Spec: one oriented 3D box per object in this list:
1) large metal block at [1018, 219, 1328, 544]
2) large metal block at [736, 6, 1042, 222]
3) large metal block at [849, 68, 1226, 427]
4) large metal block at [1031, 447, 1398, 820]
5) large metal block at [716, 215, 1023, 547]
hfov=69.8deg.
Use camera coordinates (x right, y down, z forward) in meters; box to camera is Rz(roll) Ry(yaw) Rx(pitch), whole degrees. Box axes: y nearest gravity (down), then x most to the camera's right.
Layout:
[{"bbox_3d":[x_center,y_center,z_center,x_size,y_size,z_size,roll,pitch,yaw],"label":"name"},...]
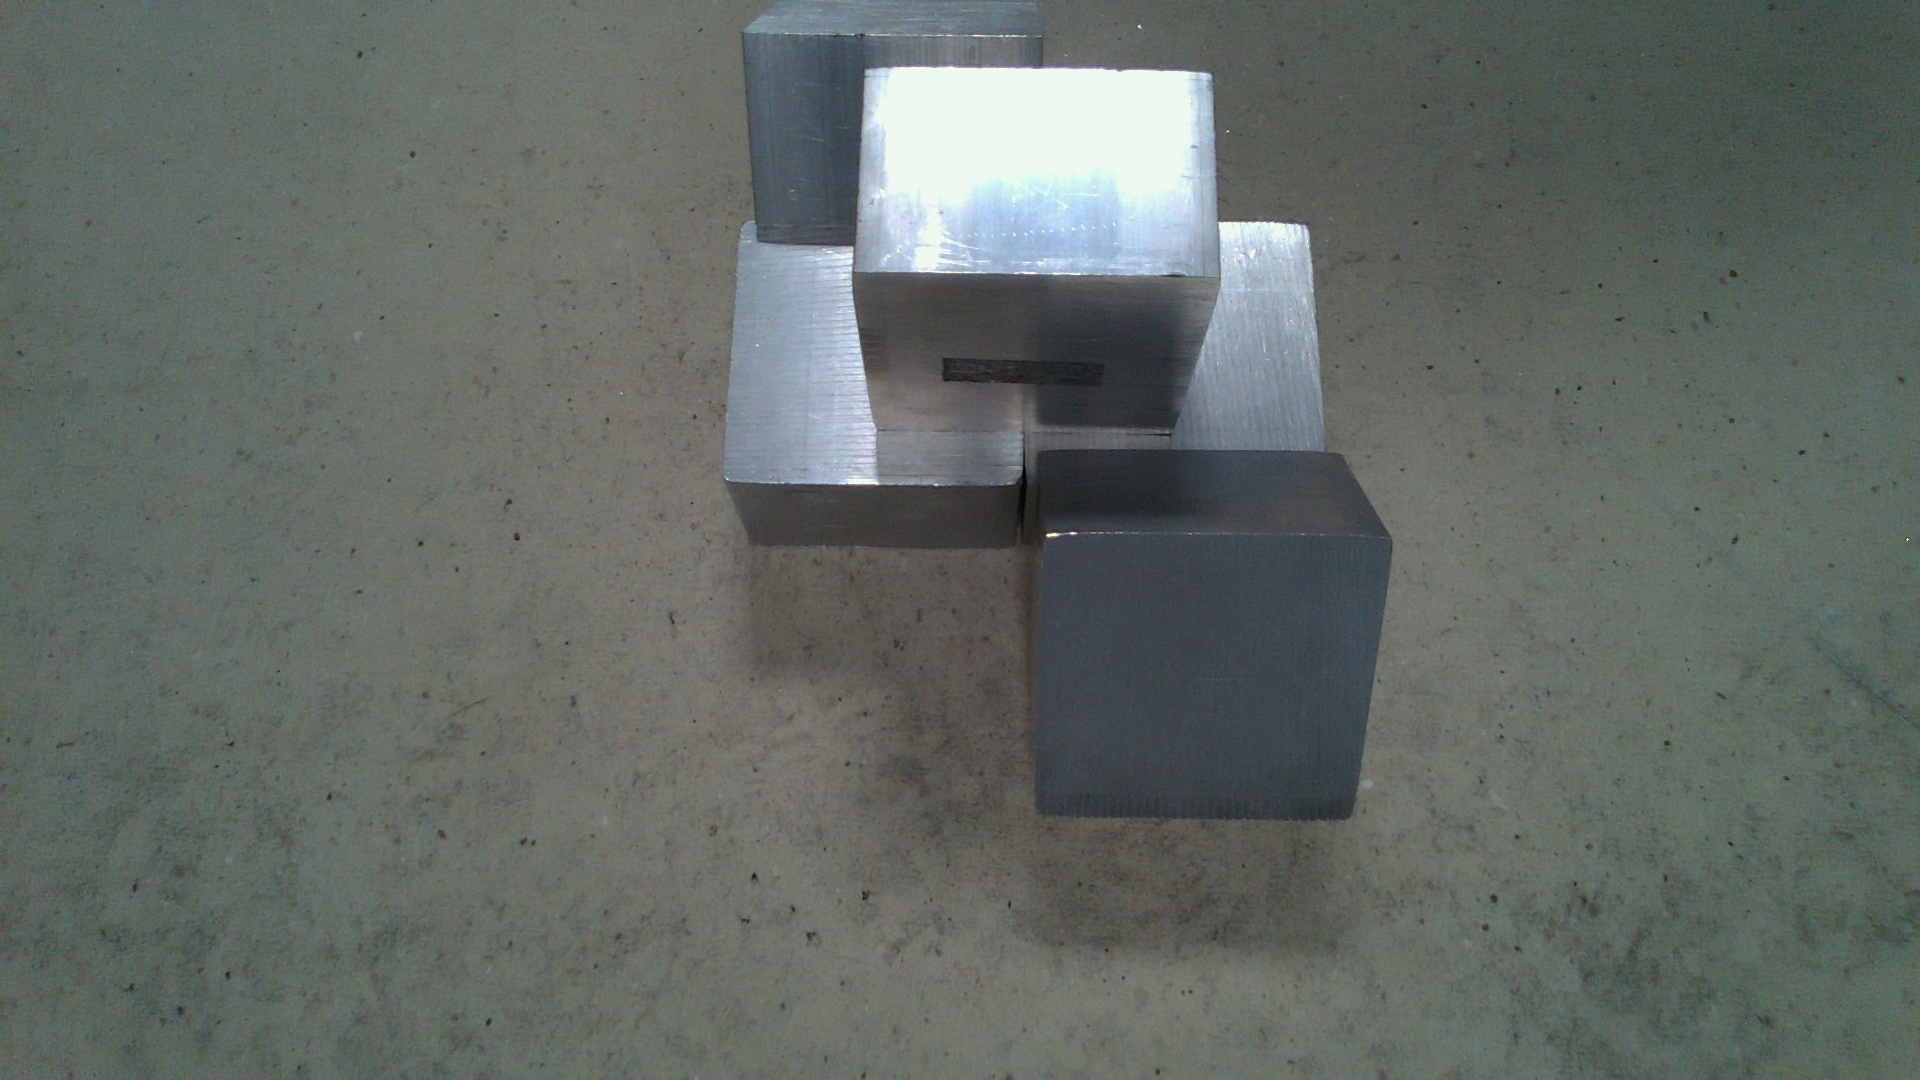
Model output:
[{"bbox_3d":[0.058,-0.044,0.396,0.080,0.050,0.080,1,70,0],"label":"large metal block"},{"bbox_3d":[-0.018,-0.128,0.406,0.080,0.050,0.080,0,26,1],"label":"large metal block"},{"bbox_3d":[0.017,-0.068,0.337,0.080,0.080,0.050,1,70,1],"label":"large metal block"},{"bbox_3d":[0.059,0.023,0.350,0.080,0.080,0.050,0,26,0],"label":"large metal block"},{"bbox_3d":[-0.023,-0.045,0.396,0.080,0.050,0.080,1,70,0],"label":"large metal block"}]
